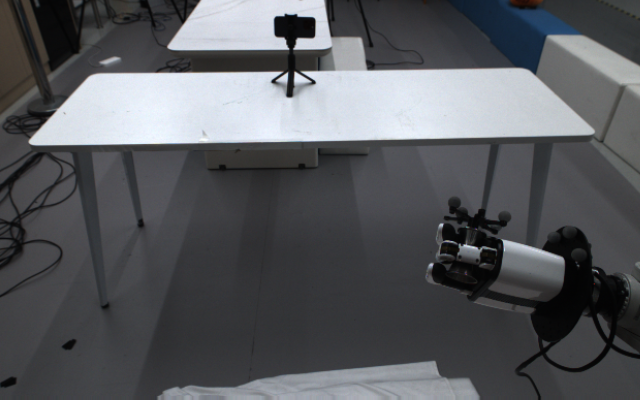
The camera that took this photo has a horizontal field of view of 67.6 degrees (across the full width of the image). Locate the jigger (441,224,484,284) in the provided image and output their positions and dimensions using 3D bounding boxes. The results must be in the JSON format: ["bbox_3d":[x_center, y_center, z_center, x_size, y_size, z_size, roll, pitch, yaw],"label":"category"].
[{"bbox_3d":[0.204,0.074,0.669,0.043,0.043,0.071,13,73,15],"label":"jigger"}]
